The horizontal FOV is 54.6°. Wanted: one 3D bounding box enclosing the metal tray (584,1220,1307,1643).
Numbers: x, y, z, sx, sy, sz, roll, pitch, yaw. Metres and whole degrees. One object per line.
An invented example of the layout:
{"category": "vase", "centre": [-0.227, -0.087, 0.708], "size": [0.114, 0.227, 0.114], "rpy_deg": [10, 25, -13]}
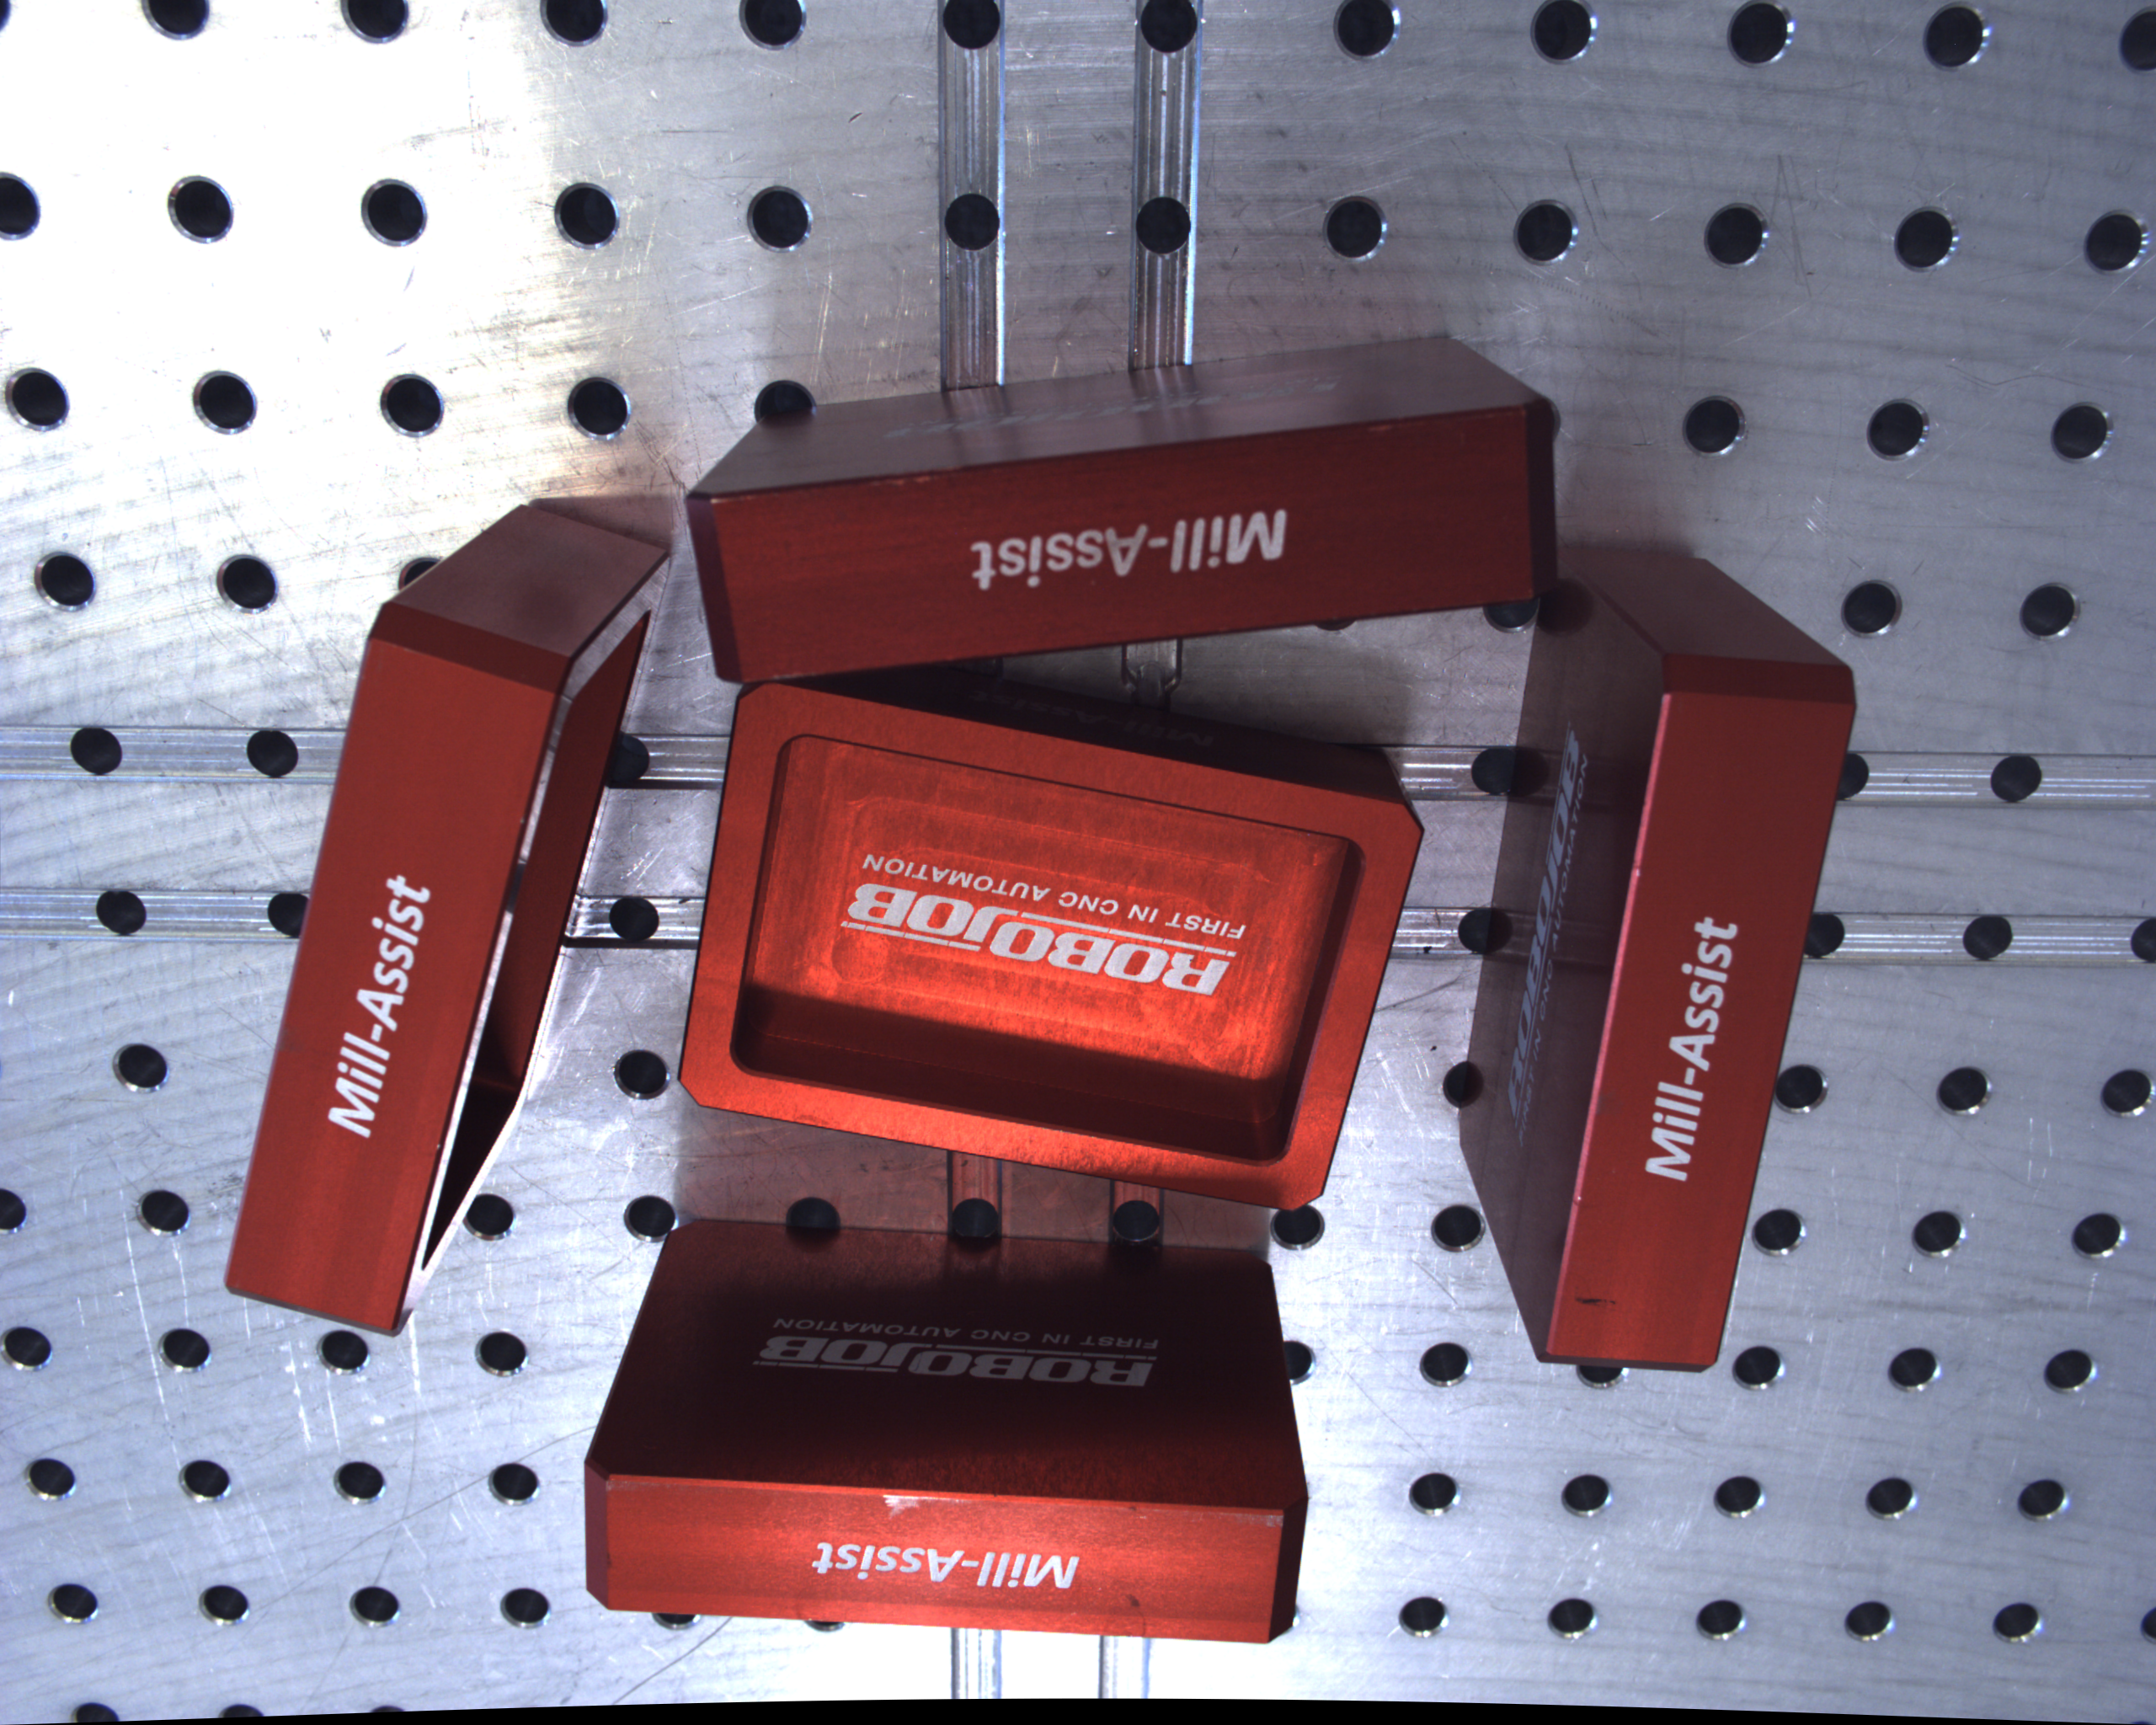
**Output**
{"category": "metal tray", "centre": [-0.024, 0.111, 0.419], "size": [0.131, 0.090, 0.030], "rpy_deg": [4, 110, -1]}

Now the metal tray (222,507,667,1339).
{"category": "metal tray", "centre": [-0.113, 0.008, 0.381], "size": [0.030, 0.090, 0.129], "rpy_deg": [17, 109, -6]}

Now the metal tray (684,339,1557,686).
{"category": "metal tray", "centre": [0.007, -0.062, 0.355], "size": [0.131, 0.090, 0.030], "rpy_deg": [-6, 110, 2]}

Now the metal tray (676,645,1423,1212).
{"category": "metal tray", "centre": [-0.007, 0.014, 0.415], "size": [0.131, 0.030, 0.089], "rpy_deg": [10, 110, -4]}

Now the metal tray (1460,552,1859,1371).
{"category": "metal tray", "centre": [0.101, 0.015, 0.385], "size": [0.030, 0.090, 0.129], "rpy_deg": [4, 110, -2]}
